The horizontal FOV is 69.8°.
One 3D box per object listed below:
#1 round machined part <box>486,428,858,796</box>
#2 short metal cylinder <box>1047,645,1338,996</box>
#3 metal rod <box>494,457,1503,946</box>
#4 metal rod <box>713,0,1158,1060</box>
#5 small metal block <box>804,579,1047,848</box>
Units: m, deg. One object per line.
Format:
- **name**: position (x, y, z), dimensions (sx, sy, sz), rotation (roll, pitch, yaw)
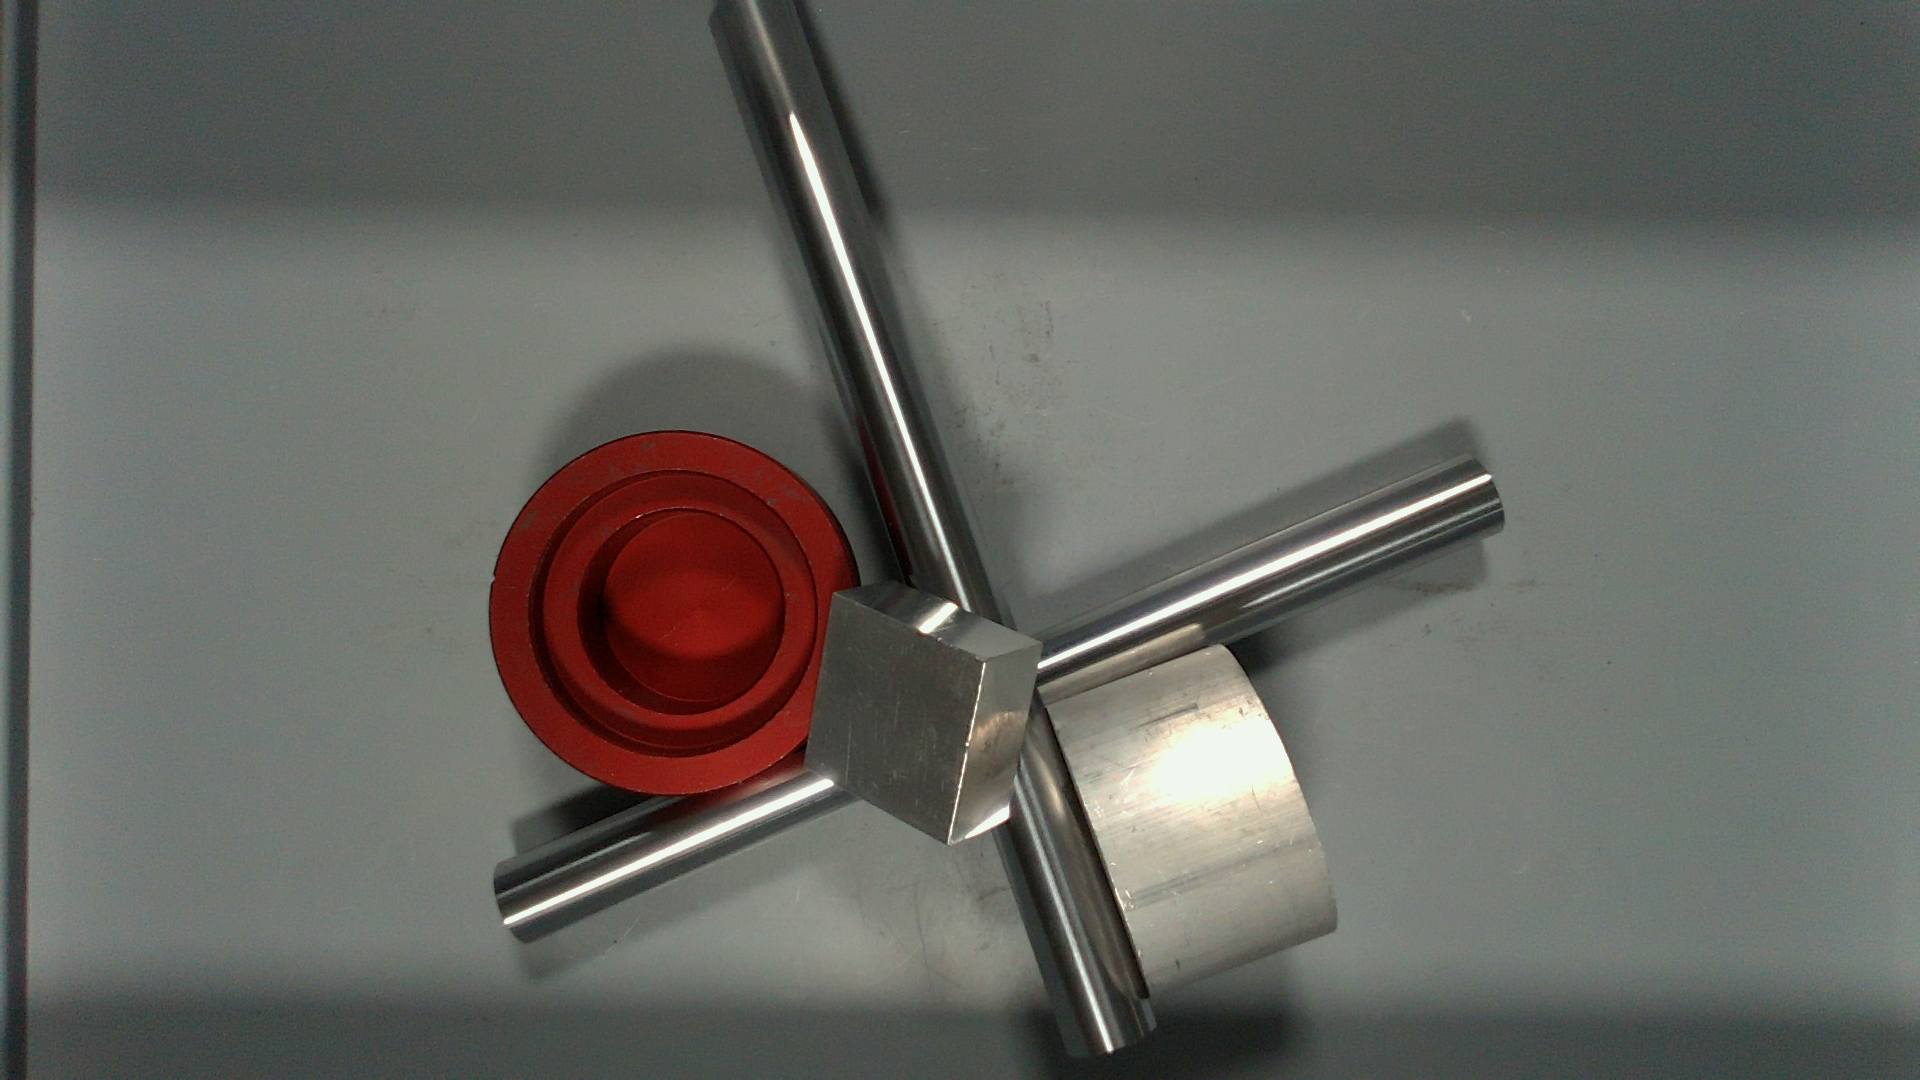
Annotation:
- **round machined part**: position (-0.077, 0.019, 0.386), dimensions (0.098, 0.042, 0.098), rotation (0, 90, 0)
- **short metal cylinder**: position (0.060, 0.074, 0.367), dimensions (0.050, 0.080, 0.080), rotation (-20, 90, 0)
- **metal rod**: position (0.011, 0.046, 0.395), dimensions (0.300, 0.025, 0.025), rotation (-23, 90, 0)
- **metal rod**: position (-0.009, -0.010, 0.376), dimensions (0.025, 0.025, 0.300), rotation (-19, 83, 0)
- **small metal block**: position (-0.010, 0.043, 0.353), dimensions (0.050, 0.025, 0.050), rotation (21, 109, 33)
